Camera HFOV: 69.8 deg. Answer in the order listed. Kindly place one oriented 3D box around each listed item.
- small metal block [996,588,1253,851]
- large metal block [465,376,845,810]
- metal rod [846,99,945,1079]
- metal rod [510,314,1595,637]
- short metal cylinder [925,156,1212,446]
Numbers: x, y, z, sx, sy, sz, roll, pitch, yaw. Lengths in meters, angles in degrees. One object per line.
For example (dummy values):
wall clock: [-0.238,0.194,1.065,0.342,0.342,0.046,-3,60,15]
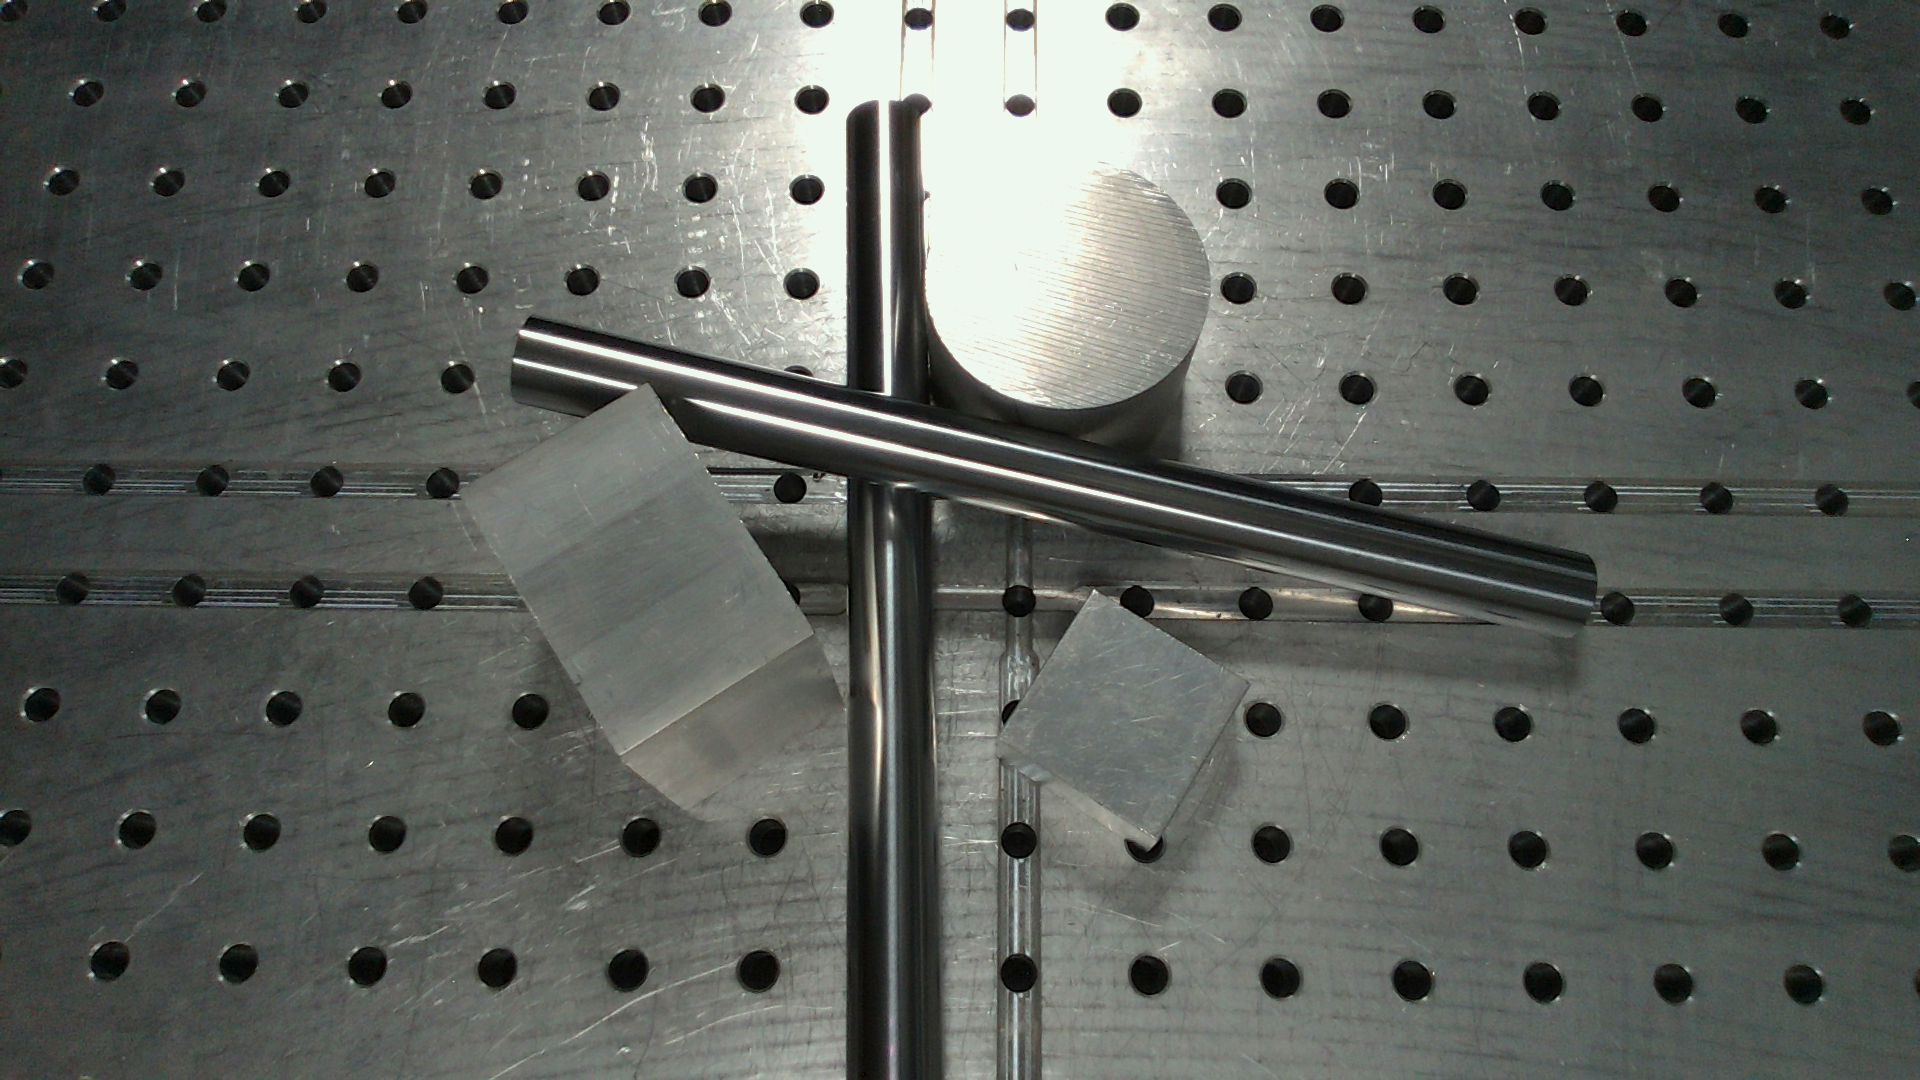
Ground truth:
small metal block: [0.044,0.050,0.380,0.050,0.025,0.050,32,73,11]
large metal block: [-0.075,0.018,0.360,0.050,0.080,0.080,-33,73,-11]
metal rod: [-0.020,0.006,0.395,0.025,0.025,0.300,-2,70,0]
metal rod: [0.028,-0.017,0.383,0.300,0.025,0.025,13,70,-4]
short metal cylinder: [0.030,-0.065,0.407,0.080,0.050,0.080,0,70,0]
